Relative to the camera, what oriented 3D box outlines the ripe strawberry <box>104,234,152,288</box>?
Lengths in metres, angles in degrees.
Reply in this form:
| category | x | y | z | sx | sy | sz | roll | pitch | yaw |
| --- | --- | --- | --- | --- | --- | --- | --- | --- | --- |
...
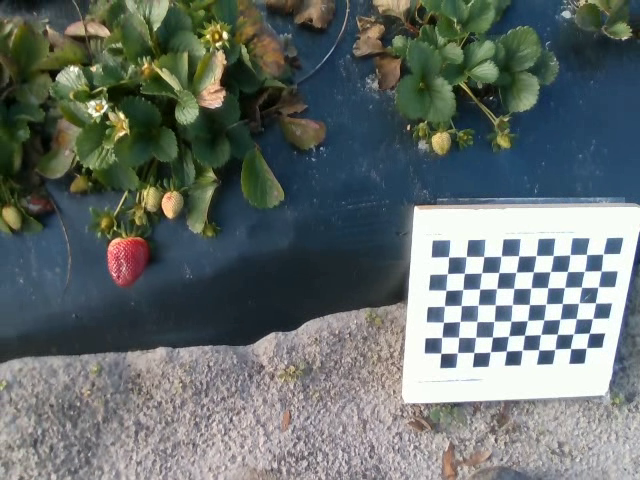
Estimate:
| category | x | y | z | sx | sy | sz | roll | pitch | yaw |
| --- | --- | --- | --- | --- | --- | --- | --- | --- | --- |
| ripe strawberry | -0.251 | 0.028 | 0.719 | 0.053 | 0.067 | 0.044 | -5 | -25 | -5 |
